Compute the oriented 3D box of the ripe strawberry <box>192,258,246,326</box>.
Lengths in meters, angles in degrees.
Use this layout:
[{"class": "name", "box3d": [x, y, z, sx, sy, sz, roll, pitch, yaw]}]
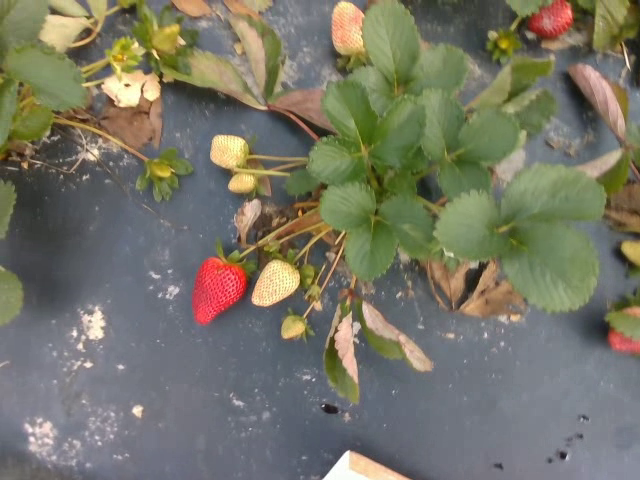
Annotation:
[{"class": "ripe strawberry", "box3d": [-0.082, 0.039, 0.503, 0.050, 0.059, 0.034, 19, -22, 0]}]
